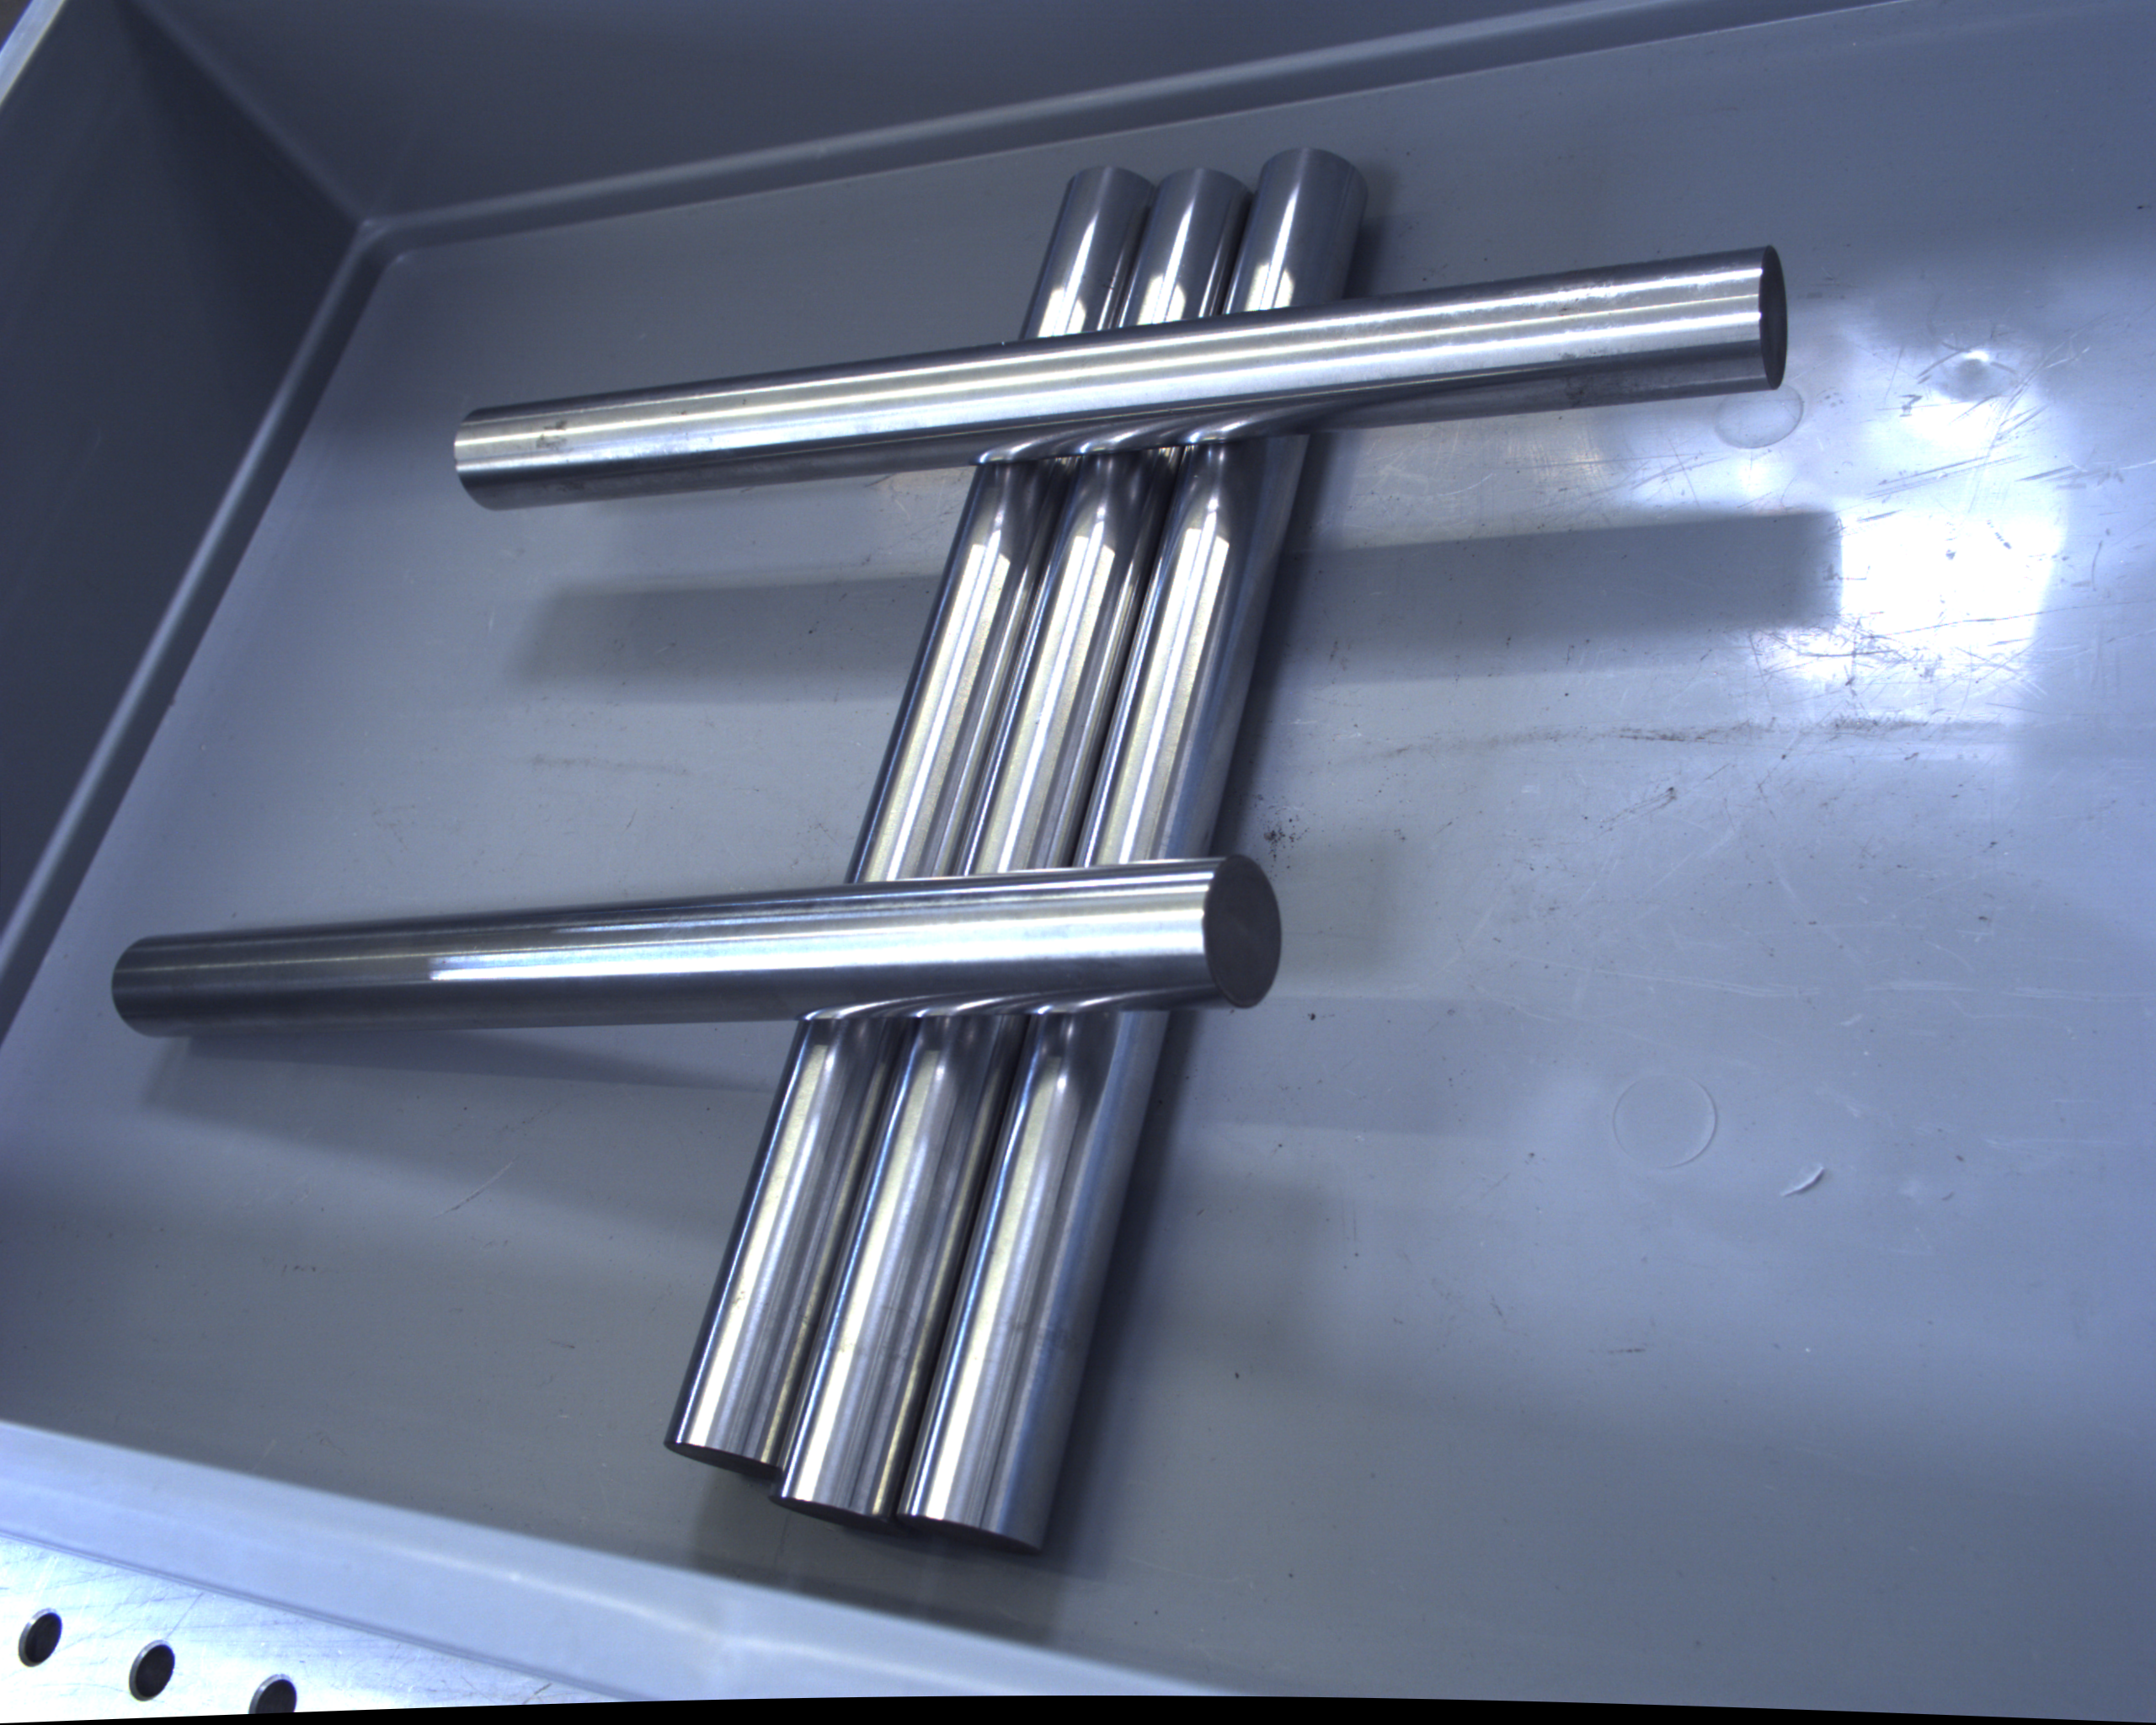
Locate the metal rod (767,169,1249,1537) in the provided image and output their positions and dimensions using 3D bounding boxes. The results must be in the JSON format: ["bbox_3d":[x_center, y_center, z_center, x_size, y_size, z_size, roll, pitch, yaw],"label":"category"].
[{"bbox_3d":[-0.006,-0.019,0.420,0.025,0.025,0.300,1,62,29],"label":"metal rod"}]

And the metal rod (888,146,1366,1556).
[{"bbox_3d":[0.017,-0.020,0.407,0.025,0.025,0.300,1,62,29],"label":"metal rod"}]

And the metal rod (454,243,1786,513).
[{"bbox_3d":[-0.010,-0.097,0.437,0.300,0.025,0.025,0,62,28],"label":"metal rod"}]

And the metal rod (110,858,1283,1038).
[{"bbox_3d":[-0.097,0.021,0.420,0.300,0.025,0.025,-4,60,34],"label":"metal rod"}]

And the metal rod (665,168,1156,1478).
[{"bbox_3d":[-0.026,-0.024,0.434,0.025,0.025,0.300,1,62,28],"label":"metal rod"}]
